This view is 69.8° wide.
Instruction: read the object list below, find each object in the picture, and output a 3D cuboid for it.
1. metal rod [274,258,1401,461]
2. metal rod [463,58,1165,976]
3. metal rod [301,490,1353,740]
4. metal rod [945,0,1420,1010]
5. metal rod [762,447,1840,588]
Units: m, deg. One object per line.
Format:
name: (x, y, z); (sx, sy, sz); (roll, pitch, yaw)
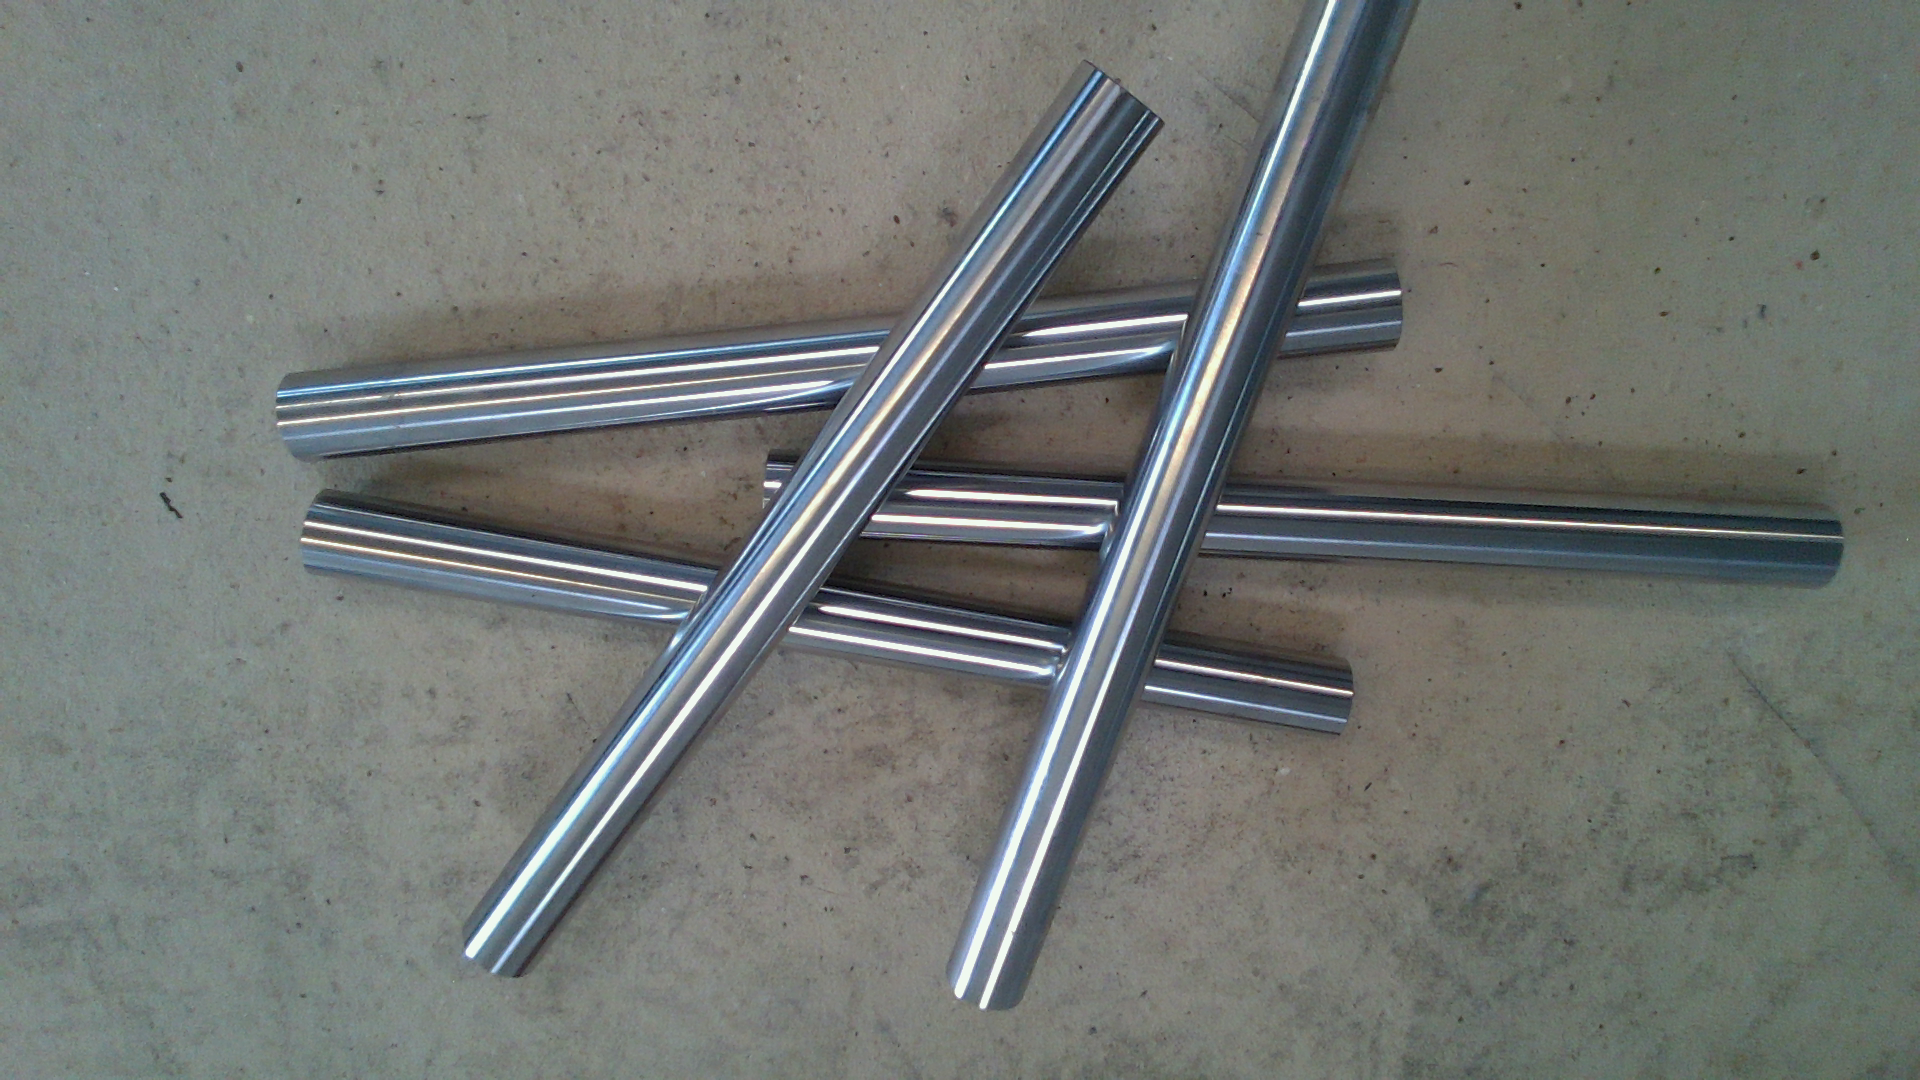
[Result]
metal rod: (-0.034, -0.049, 0.376); (0.300, 0.025, 0.025); (-6, 110, 2)
metal rod: (-0.049, 0.007, 0.370); (0.025, 0.025, 0.300); (34, 106, -12)
metal rod: (-0.035, 0.023, 0.402); (0.300, 0.025, 0.025); (10, 110, -4)
metal rod: (0.052, -0.001, 0.368); (0.025, 0.025, 0.300); (16, 109, -6)
metal rod: (0.095, -0.006, 0.392); (0.300, 0.025, 0.025); (3, 110, -1)
